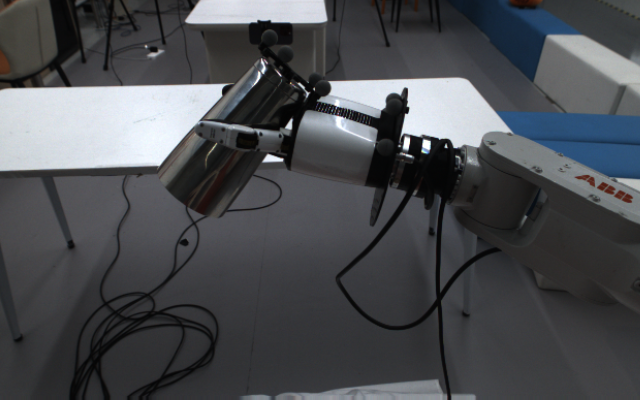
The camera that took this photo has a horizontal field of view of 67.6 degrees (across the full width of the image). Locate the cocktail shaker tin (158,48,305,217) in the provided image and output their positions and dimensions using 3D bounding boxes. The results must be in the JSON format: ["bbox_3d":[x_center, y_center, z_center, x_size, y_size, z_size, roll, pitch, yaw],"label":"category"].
[{"bbox_3d":[-0.093,-0.076,0.544,0.093,0.170,0.093,41,12,-11],"label":"cocktail shaker tin"}]
